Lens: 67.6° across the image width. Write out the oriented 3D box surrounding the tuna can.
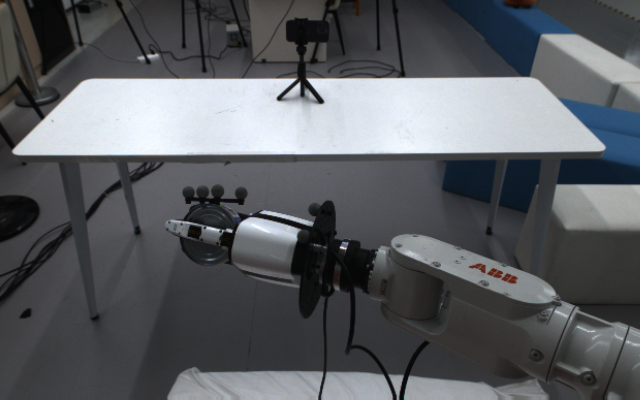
[{"bbox_3d":[-0.148,0.048,0.677,0.085,0.085,0.034,11,-1,13],"label":"tuna can"}]
